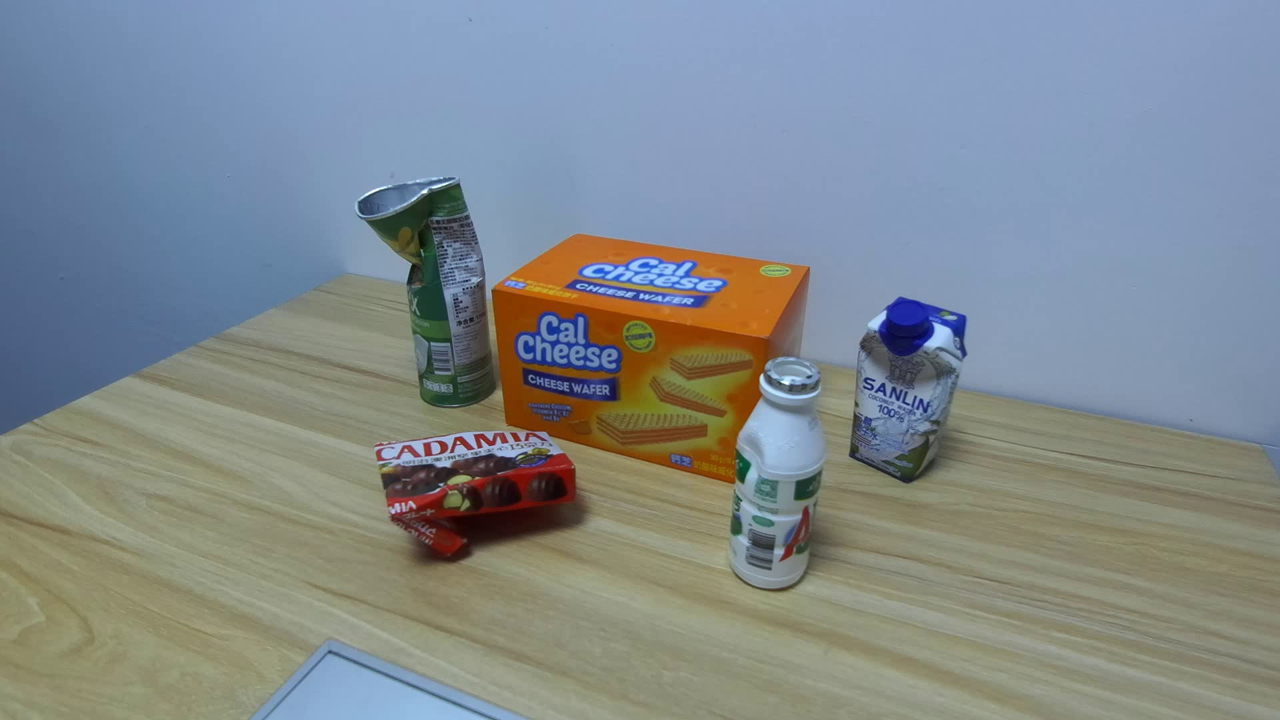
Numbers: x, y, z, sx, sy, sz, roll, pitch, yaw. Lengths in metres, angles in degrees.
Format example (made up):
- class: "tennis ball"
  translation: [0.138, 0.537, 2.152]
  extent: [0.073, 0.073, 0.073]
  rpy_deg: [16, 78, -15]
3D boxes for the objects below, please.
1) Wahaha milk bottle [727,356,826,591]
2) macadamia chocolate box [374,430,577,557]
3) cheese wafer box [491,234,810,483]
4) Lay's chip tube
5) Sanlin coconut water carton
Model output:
- class: "Wahaha milk bottle"
  translation: [0.082, 0.074, 0.423]
  extent: [0.053, 0.137, 0.053]
  rpy_deg: [0, 30, 0]
- class: "macadamia chocolate box"
  translation: [-0.117, 0.081, 0.502]
  extent: [0.127, 0.056, 0.111]
  rpy_deg: [-12, 32, -19]
- class: "cheese wafer box"
  translation: [0.013, -0.011, 0.588]
  extent: [0.221, 0.129, 0.148]
  rpy_deg: [12, 31, 19]
- class: "Lay's chip tube"
  translation: [-0.175, -0.053, 0.601]
  extent: [0.078, 0.200, 0.071]
  rpy_deg: [19, 41, 33]
- class: "Sanlin coconut water carton"
  translation: [0.197, 0.018, 0.527]
  extent: [0.077, 0.142, 0.058]
  rpy_deg: [24, 42, 37]
